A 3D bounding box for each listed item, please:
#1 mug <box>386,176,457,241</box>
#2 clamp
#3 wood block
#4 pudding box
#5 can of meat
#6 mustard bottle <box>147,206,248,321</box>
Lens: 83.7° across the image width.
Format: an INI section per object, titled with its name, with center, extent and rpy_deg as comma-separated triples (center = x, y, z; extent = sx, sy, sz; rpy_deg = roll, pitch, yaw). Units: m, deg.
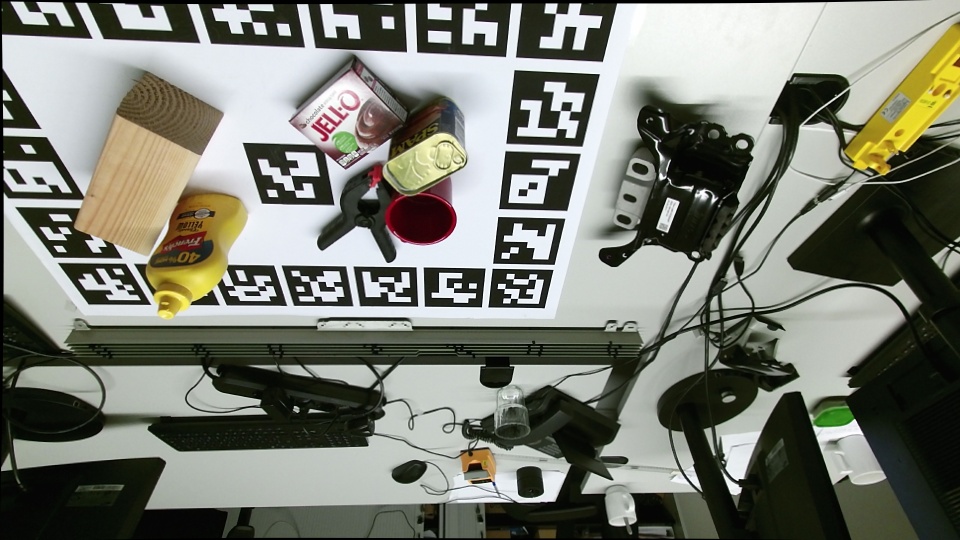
[mug]
center = -0.084, -0.093, 0.749
extent = 0.094, 0.081, 0.117
rpy_deg = 16, 130, -18
[clamp]
center = -0.168, -0.067, 0.776
extent = 0.122, 0.036, 0.165
rpy_deg = 15, 130, -15
[wood block]
center = -0.420, -0.119, 0.672
extent = 0.090, 0.090, 0.206
rpy_deg = 28, 129, -29
[pudding box]
center = -0.167, -0.184, 0.653
extent = 0.114, 0.038, 0.090
rpy_deg = -30, 129, 26
[can of meat]
center = -0.068, -0.150, 0.653
extent = 0.102, 0.083, 0.058
rpy_deg = -23, 130, 18
[mustard bottle]
center = -0.379, -0.007, 0.707
extent = 0.096, 0.190, 0.058
rpy_deg = -4, 134, 0
